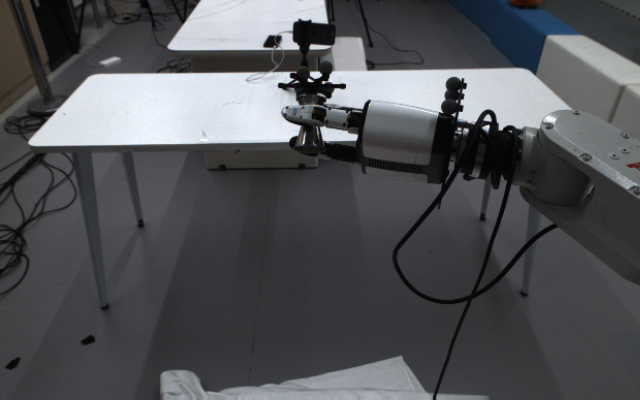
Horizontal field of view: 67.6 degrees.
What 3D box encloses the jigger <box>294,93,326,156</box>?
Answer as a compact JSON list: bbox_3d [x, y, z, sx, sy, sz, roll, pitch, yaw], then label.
[{"bbox_3d":[-0.013,-0.099,0.630,0.043,0.071,0.043,2,-6,0],"label":"jigger"}]
